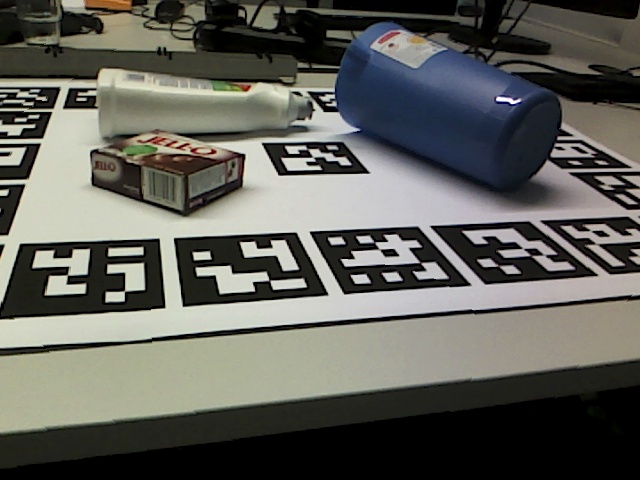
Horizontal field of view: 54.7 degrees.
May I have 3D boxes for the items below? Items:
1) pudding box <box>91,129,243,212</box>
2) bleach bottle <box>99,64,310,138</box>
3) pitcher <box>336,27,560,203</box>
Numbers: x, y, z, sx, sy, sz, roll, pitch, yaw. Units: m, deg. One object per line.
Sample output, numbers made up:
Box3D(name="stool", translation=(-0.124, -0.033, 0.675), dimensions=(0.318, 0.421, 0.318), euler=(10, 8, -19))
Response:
Box3D(name="pudding box", translation=(-0.145, -0.069, 0.588), dimensions=(0.114, 0.038, 0.089), euler=(22, 28, 23))
Box3D(name="bleach bottle", translation=(-0.132, -0.167, 0.745), dimensions=(0.250, 0.068, 0.103), euler=(-3, 35, -19))
Box3D(name="pitcher", translation=(0.147, -0.139, 0.716), dimensions=(0.244, 0.133, 0.187), euler=(40, 9, 37))
